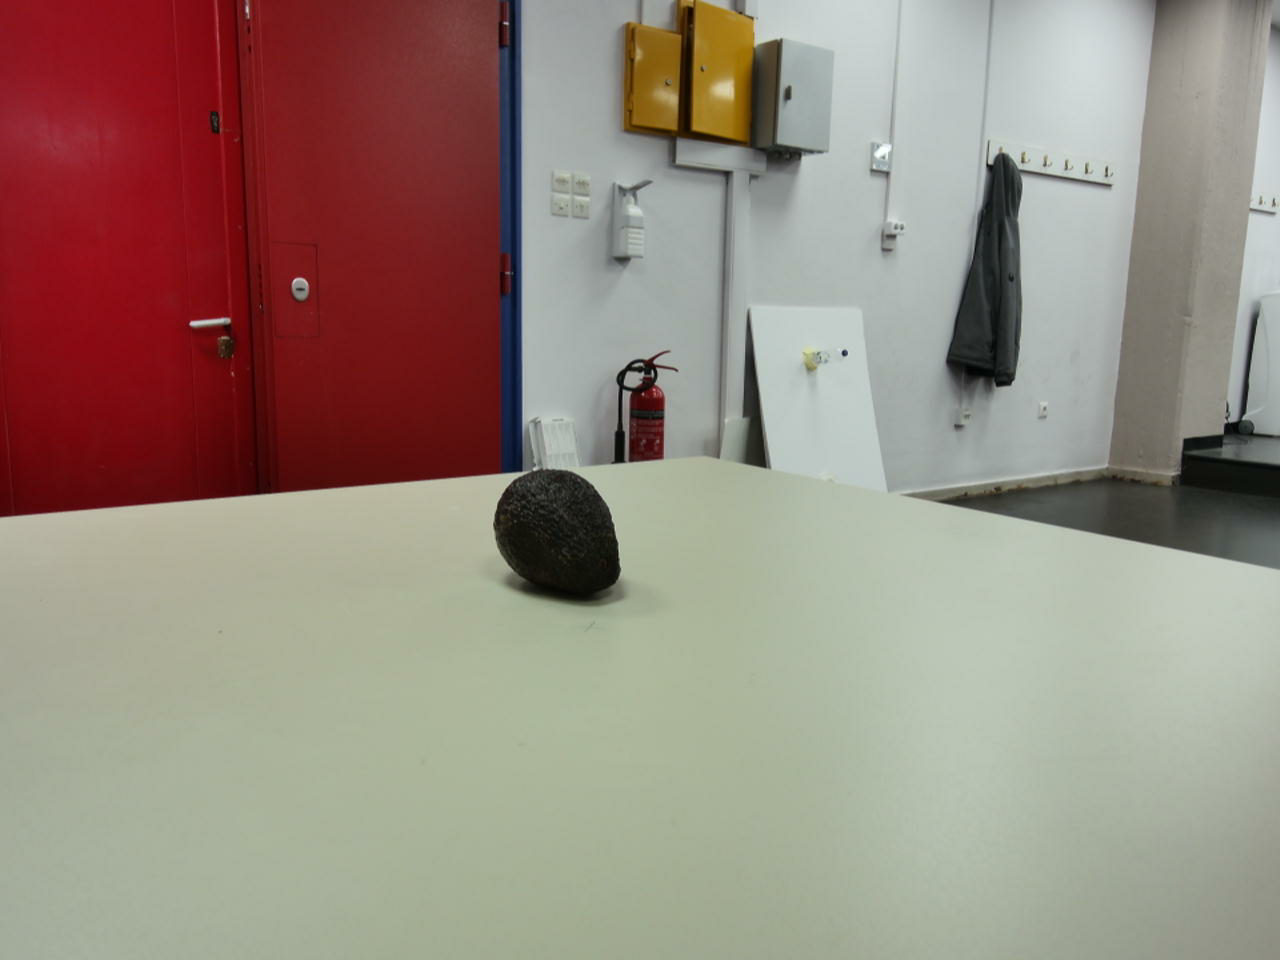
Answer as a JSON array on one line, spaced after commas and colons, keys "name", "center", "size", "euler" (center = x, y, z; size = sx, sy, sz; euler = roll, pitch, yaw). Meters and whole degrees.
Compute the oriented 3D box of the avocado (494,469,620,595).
[{"name": "avocado", "center": [-0.050, 0.029, 0.589], "size": [0.070, 0.069, 0.090], "euler": [-1, 8, -11]}]
